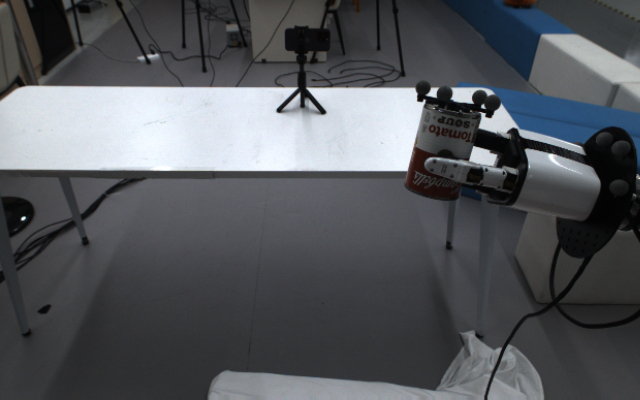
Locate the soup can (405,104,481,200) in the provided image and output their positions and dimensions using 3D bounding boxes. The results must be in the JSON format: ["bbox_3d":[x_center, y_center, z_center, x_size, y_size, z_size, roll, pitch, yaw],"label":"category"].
[{"bbox_3d":[0.145,-0.060,0.574,0.067,0.101,0.067,9,20,-3],"label":"soup can"}]
